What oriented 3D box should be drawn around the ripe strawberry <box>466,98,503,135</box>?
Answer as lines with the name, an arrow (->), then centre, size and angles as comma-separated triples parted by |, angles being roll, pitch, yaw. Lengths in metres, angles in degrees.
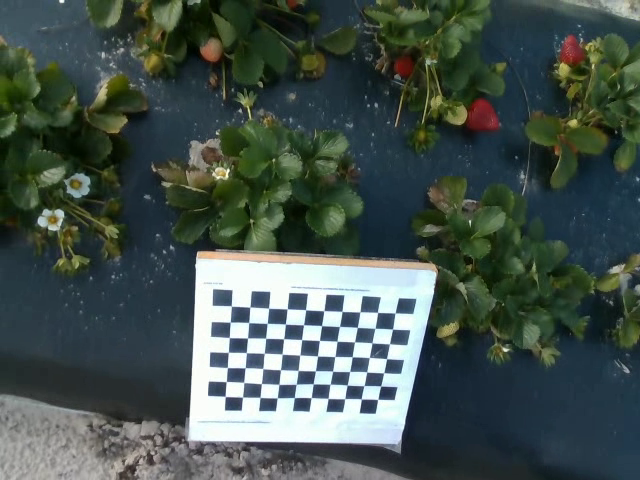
ripe strawberry -> 0.253, -0.187, 0.967 | 0.048, 0.051, 0.055 | 19, 28, -53
